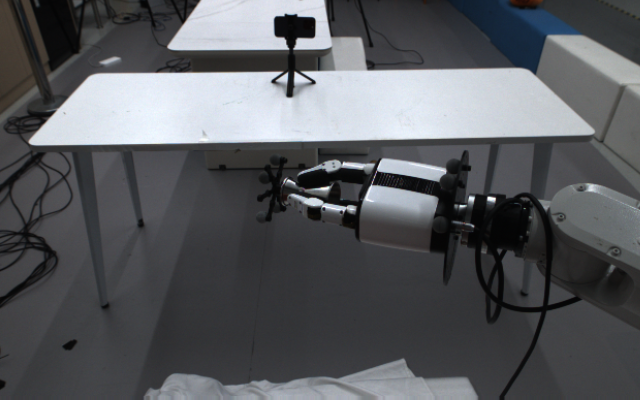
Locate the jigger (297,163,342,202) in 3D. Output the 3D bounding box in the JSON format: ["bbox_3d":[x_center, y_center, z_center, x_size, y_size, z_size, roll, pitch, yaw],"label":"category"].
[{"bbox_3d":[-0.007,-0.009,0.629,0.071,0.043,0.043,10,35,22],"label":"jigger"}]
